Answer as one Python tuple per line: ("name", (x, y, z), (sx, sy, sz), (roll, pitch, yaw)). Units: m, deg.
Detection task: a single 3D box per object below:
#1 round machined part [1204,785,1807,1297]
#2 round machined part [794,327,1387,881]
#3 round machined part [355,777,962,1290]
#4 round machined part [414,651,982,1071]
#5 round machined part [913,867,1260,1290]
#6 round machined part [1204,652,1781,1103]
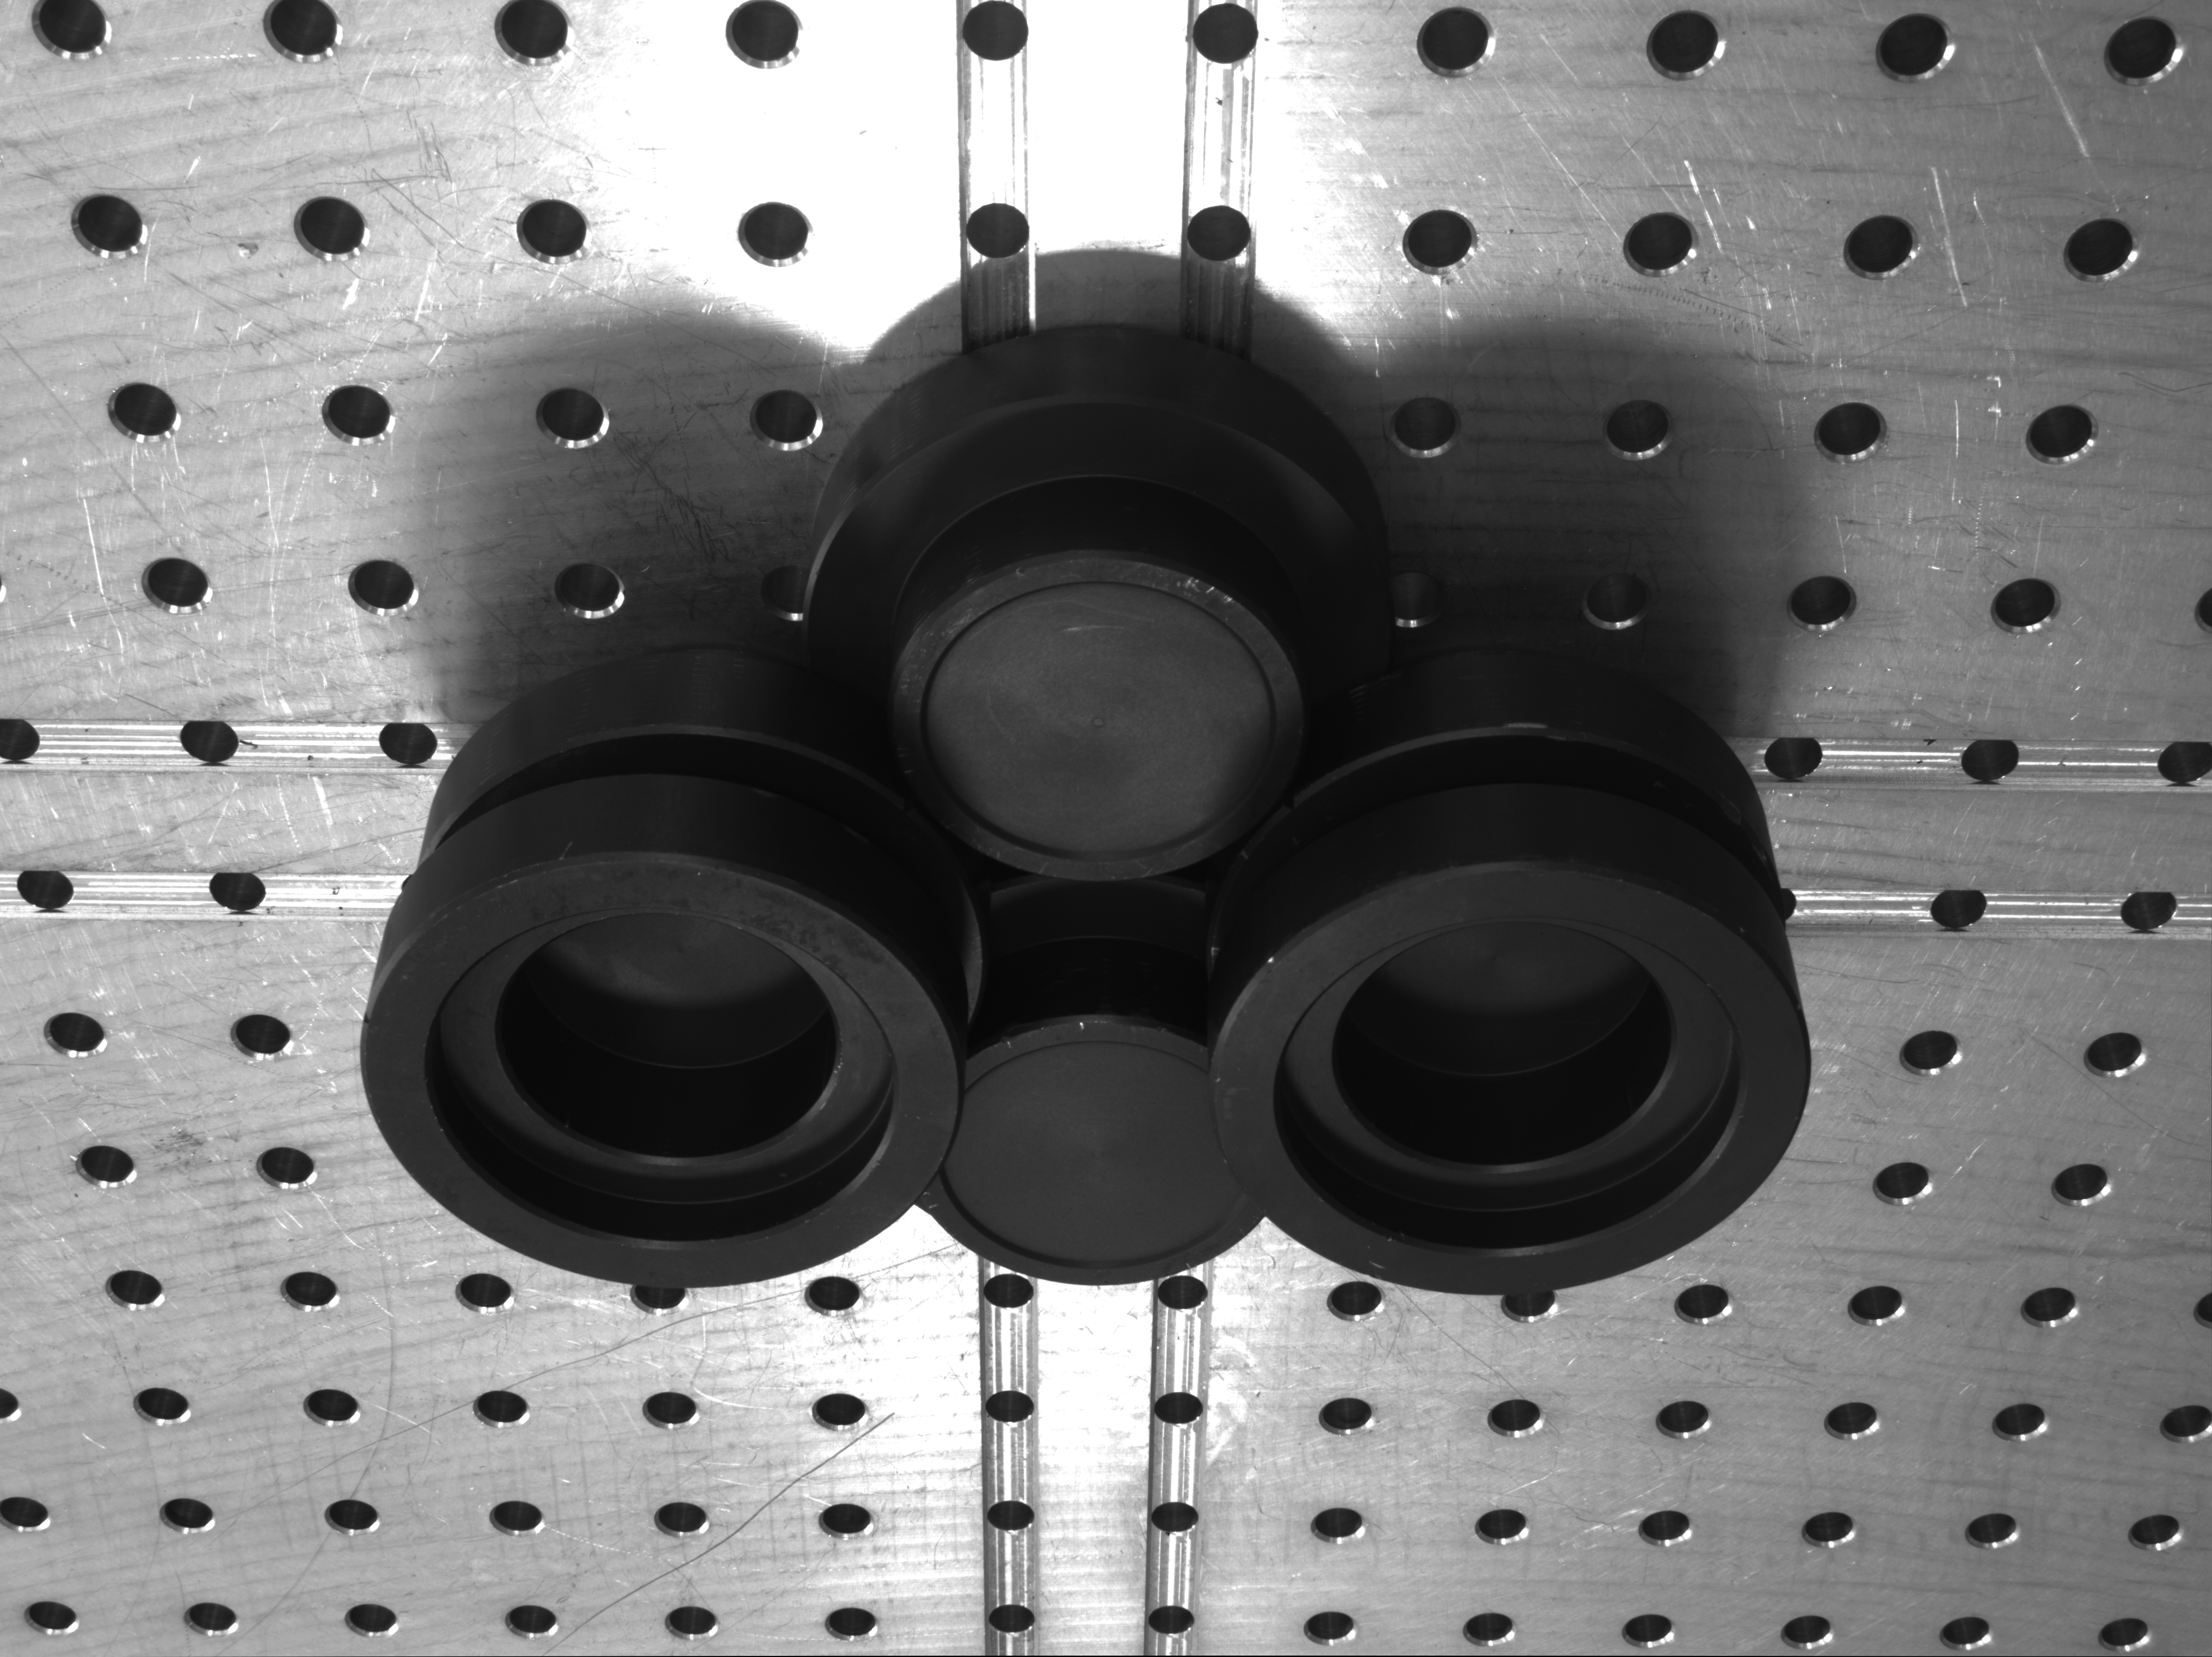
("round machined part", (0.065, 0.030, 0.615), (0.098, 0.042, 0.098), (0, 130, 0))
("round machined part", (-0.002, -0.030, 0.606), (0.098, 0.042, 0.098), (0, 130, 0))
("round machined part", (-0.073, 0.029, 0.613), (0.098, 0.042, 0.098), (0, 130, 0))
("round machined part", (-0.070, 0.008, 0.638), (0.098, 0.042, 0.098), (0, 130, 0))
("round machined part", (-0.002, 0.046, 0.669), (0.098, 0.042, 0.098), (0, 130, 0))
("round machined part", (0.066, 0.009, 0.638), (0.098, 0.042, 0.098), (0, 130, 0))
